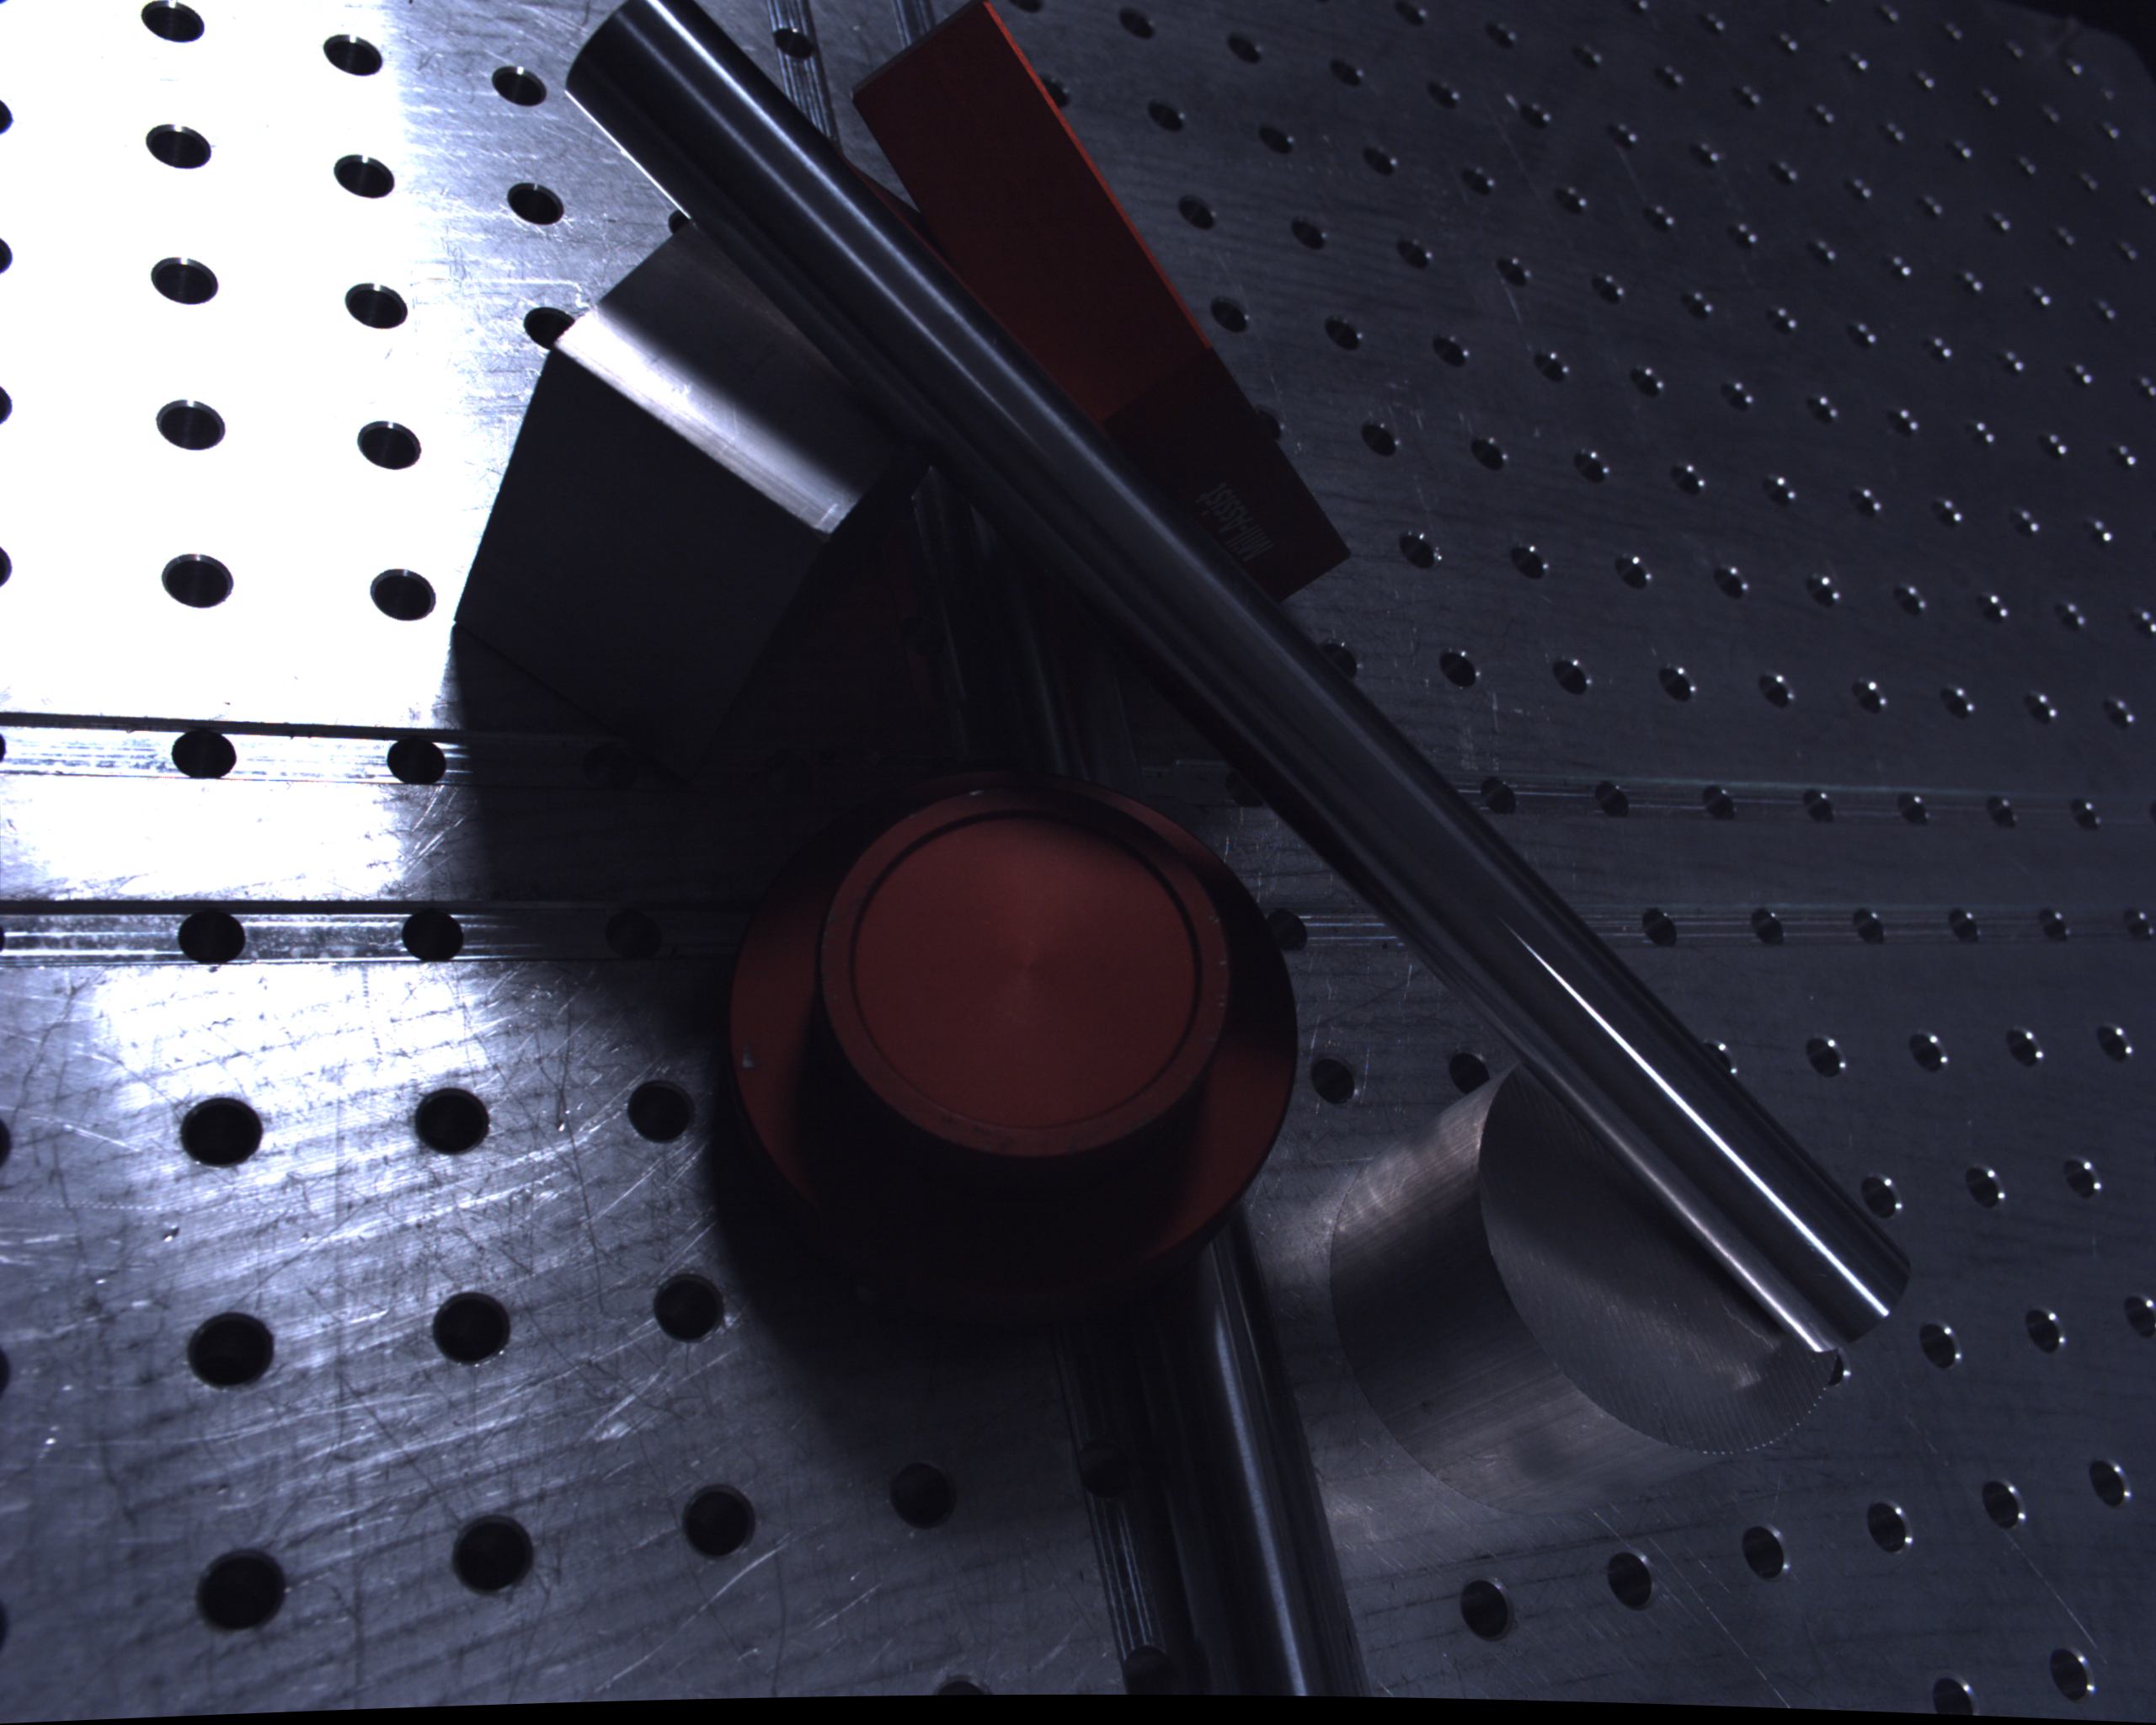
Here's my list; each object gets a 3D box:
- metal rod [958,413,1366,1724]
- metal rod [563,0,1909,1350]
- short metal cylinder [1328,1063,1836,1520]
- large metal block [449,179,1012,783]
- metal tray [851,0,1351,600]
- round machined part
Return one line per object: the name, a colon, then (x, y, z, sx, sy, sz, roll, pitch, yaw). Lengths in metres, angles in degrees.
metal rod: (0.006, 0.012, 0.406, 0.025, 0.025, 0.299, 2, 61, -28)
metal rod: (0.032, -0.027, 0.353, 0.300, 0.025, 0.025, 45, 50, -8)
short metal cylinder: (0.096, 0.079, 0.398, 0.081, 0.050, 0.080, 14, 56, -21)
large metal block: (-0.064, -0.075, 0.386, 0.050, 0.080, 0.080, 36, 51, -5)
metal tray: (0.010, -0.105, 0.426, 0.090, 0.030, 0.130, 60, 11, 15)
round machined part: (-0.010, 0.026, 0.357, 0.099, 0.042, 0.098, 4, 62, -7)
